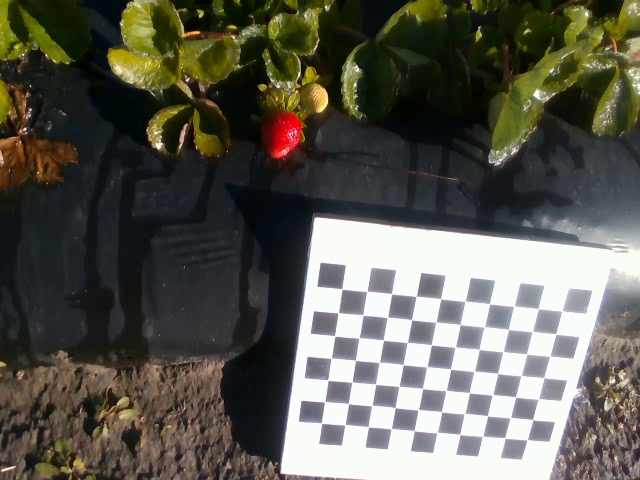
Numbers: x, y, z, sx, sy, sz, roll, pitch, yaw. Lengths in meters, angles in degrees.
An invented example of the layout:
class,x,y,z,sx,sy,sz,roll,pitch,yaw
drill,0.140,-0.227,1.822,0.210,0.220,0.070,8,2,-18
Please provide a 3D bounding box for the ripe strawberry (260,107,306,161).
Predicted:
class,x,y,z,sx,sy,sz,roll,pitch,yaw
ripe strawberry,-0.026,-0.068,0.405,0.039,0.040,0.039,0,42,7
